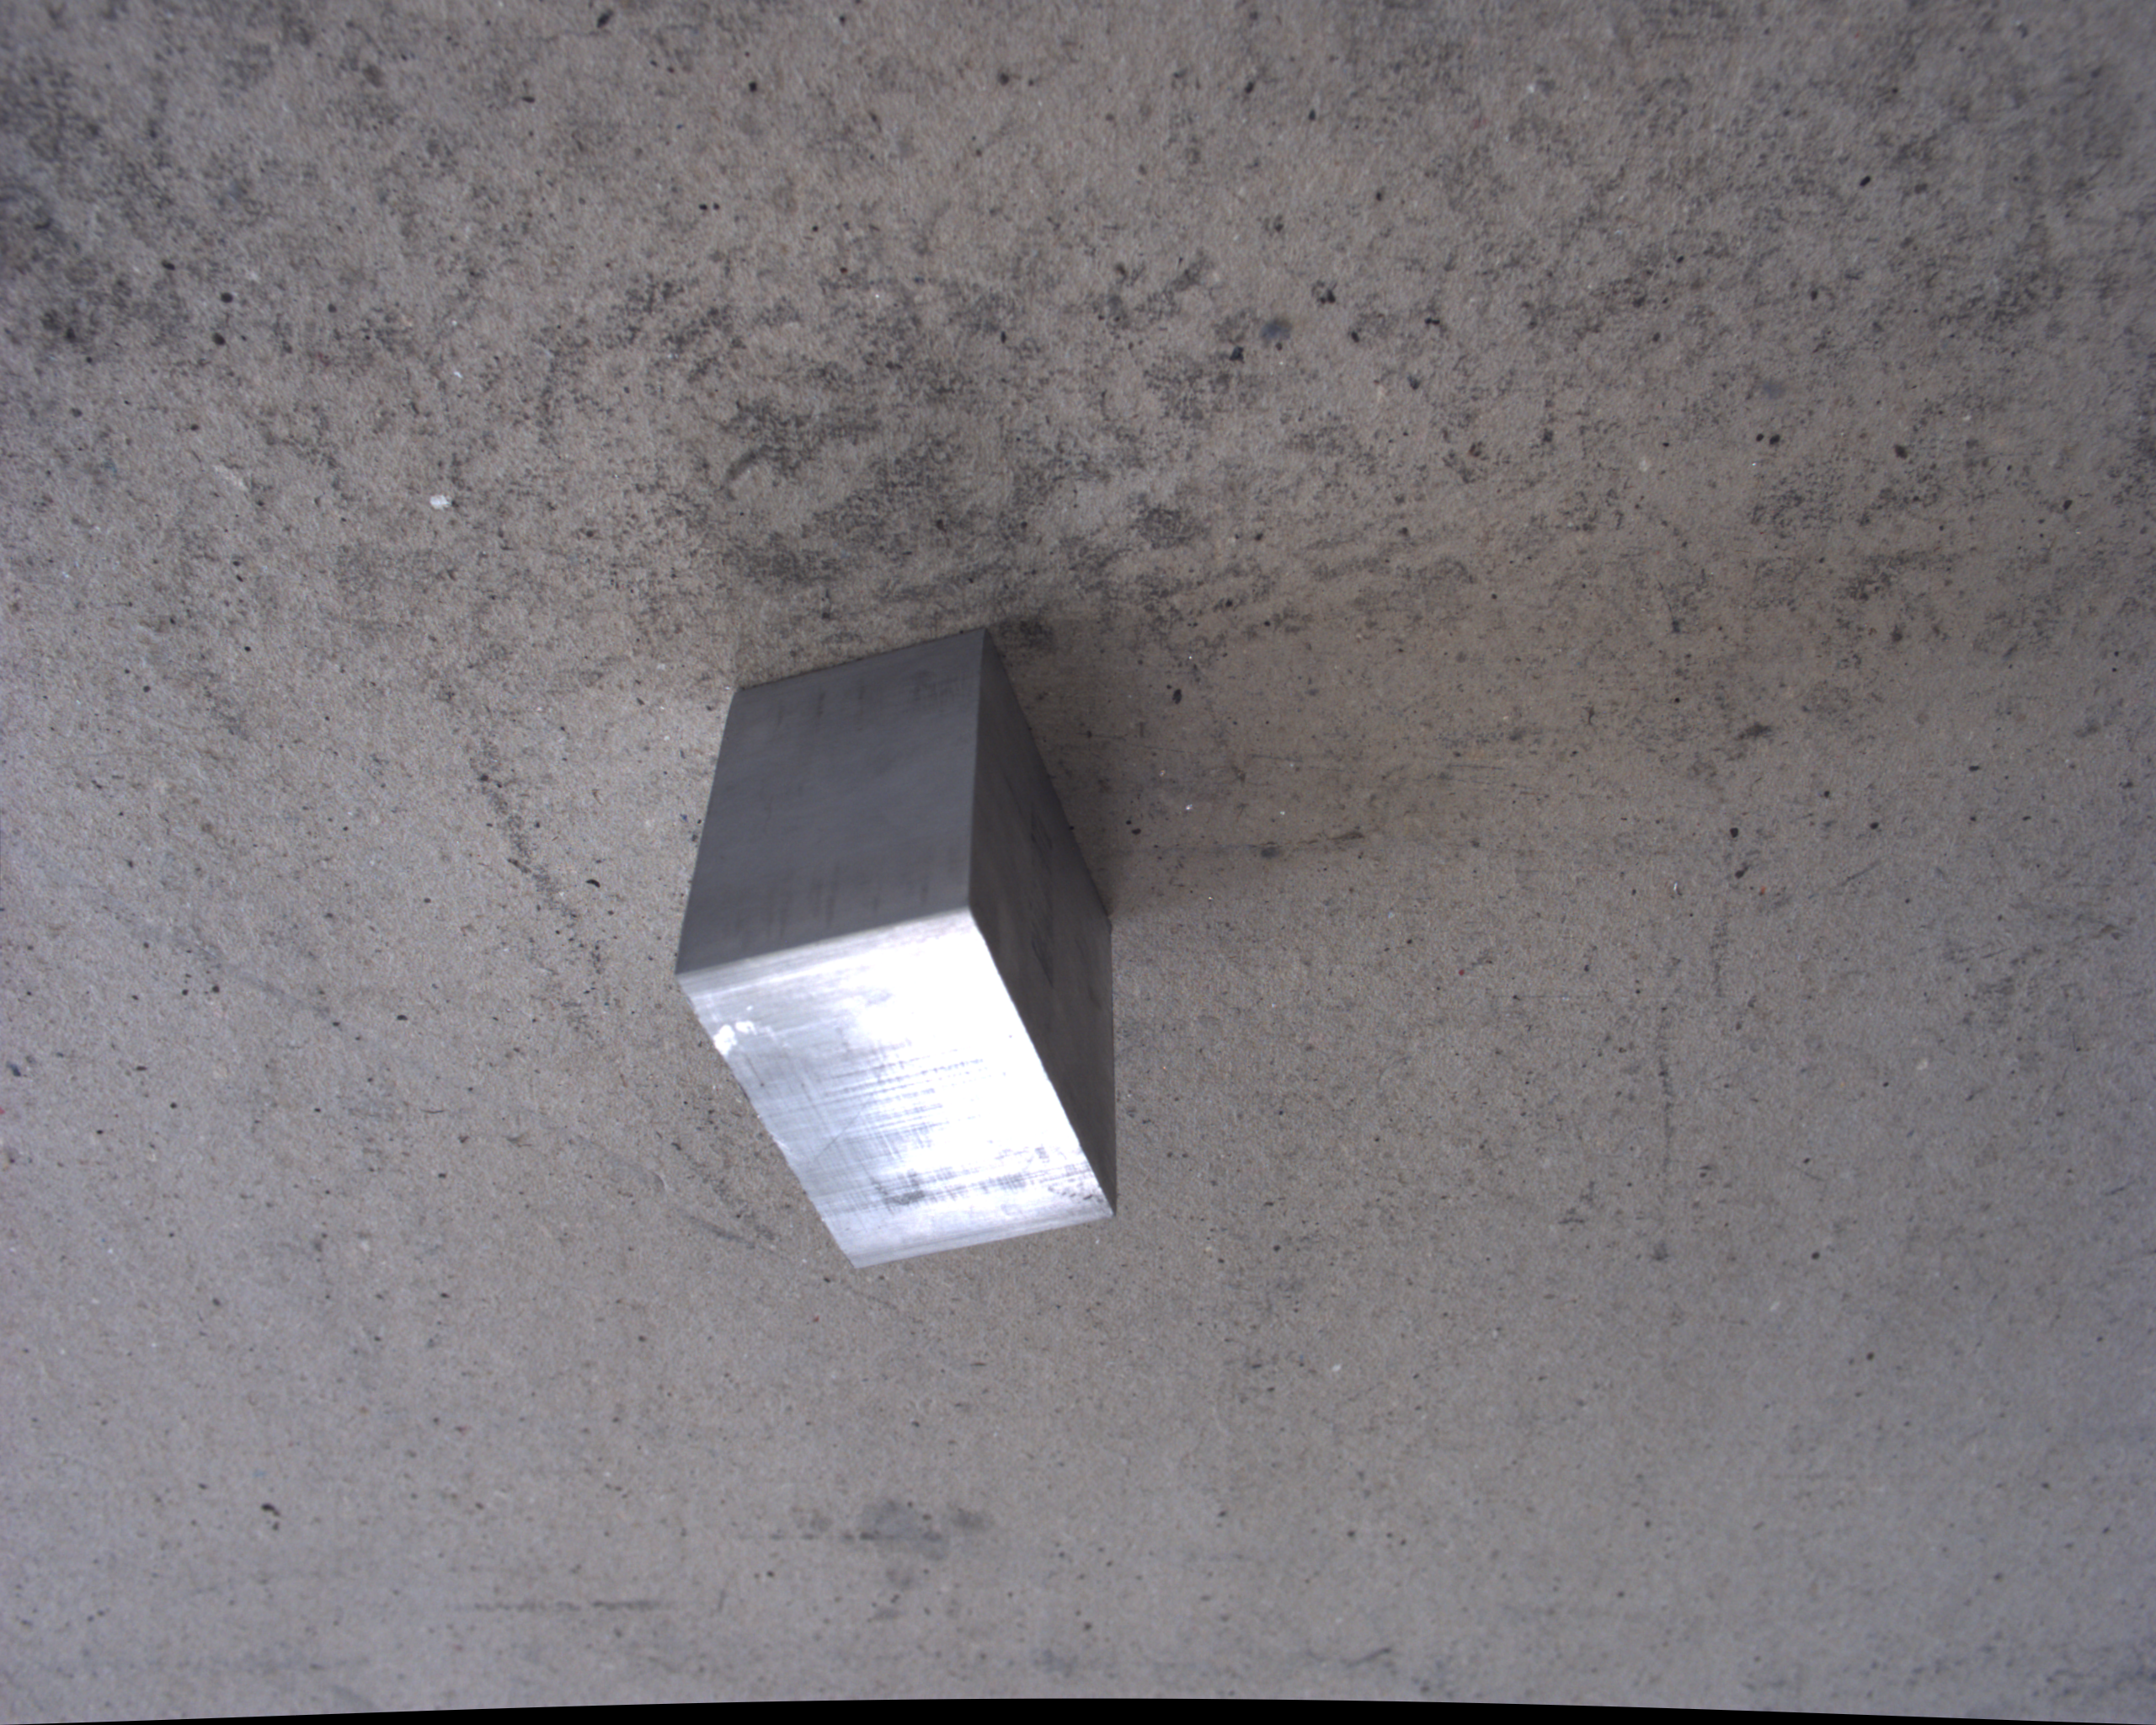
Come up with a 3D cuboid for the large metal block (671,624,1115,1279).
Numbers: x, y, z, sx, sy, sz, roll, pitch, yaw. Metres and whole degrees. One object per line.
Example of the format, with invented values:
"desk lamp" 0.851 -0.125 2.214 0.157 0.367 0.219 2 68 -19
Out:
"large metal block" -0.029 0.016 0.385 0.050 0.080 0.080 -13 129 11
